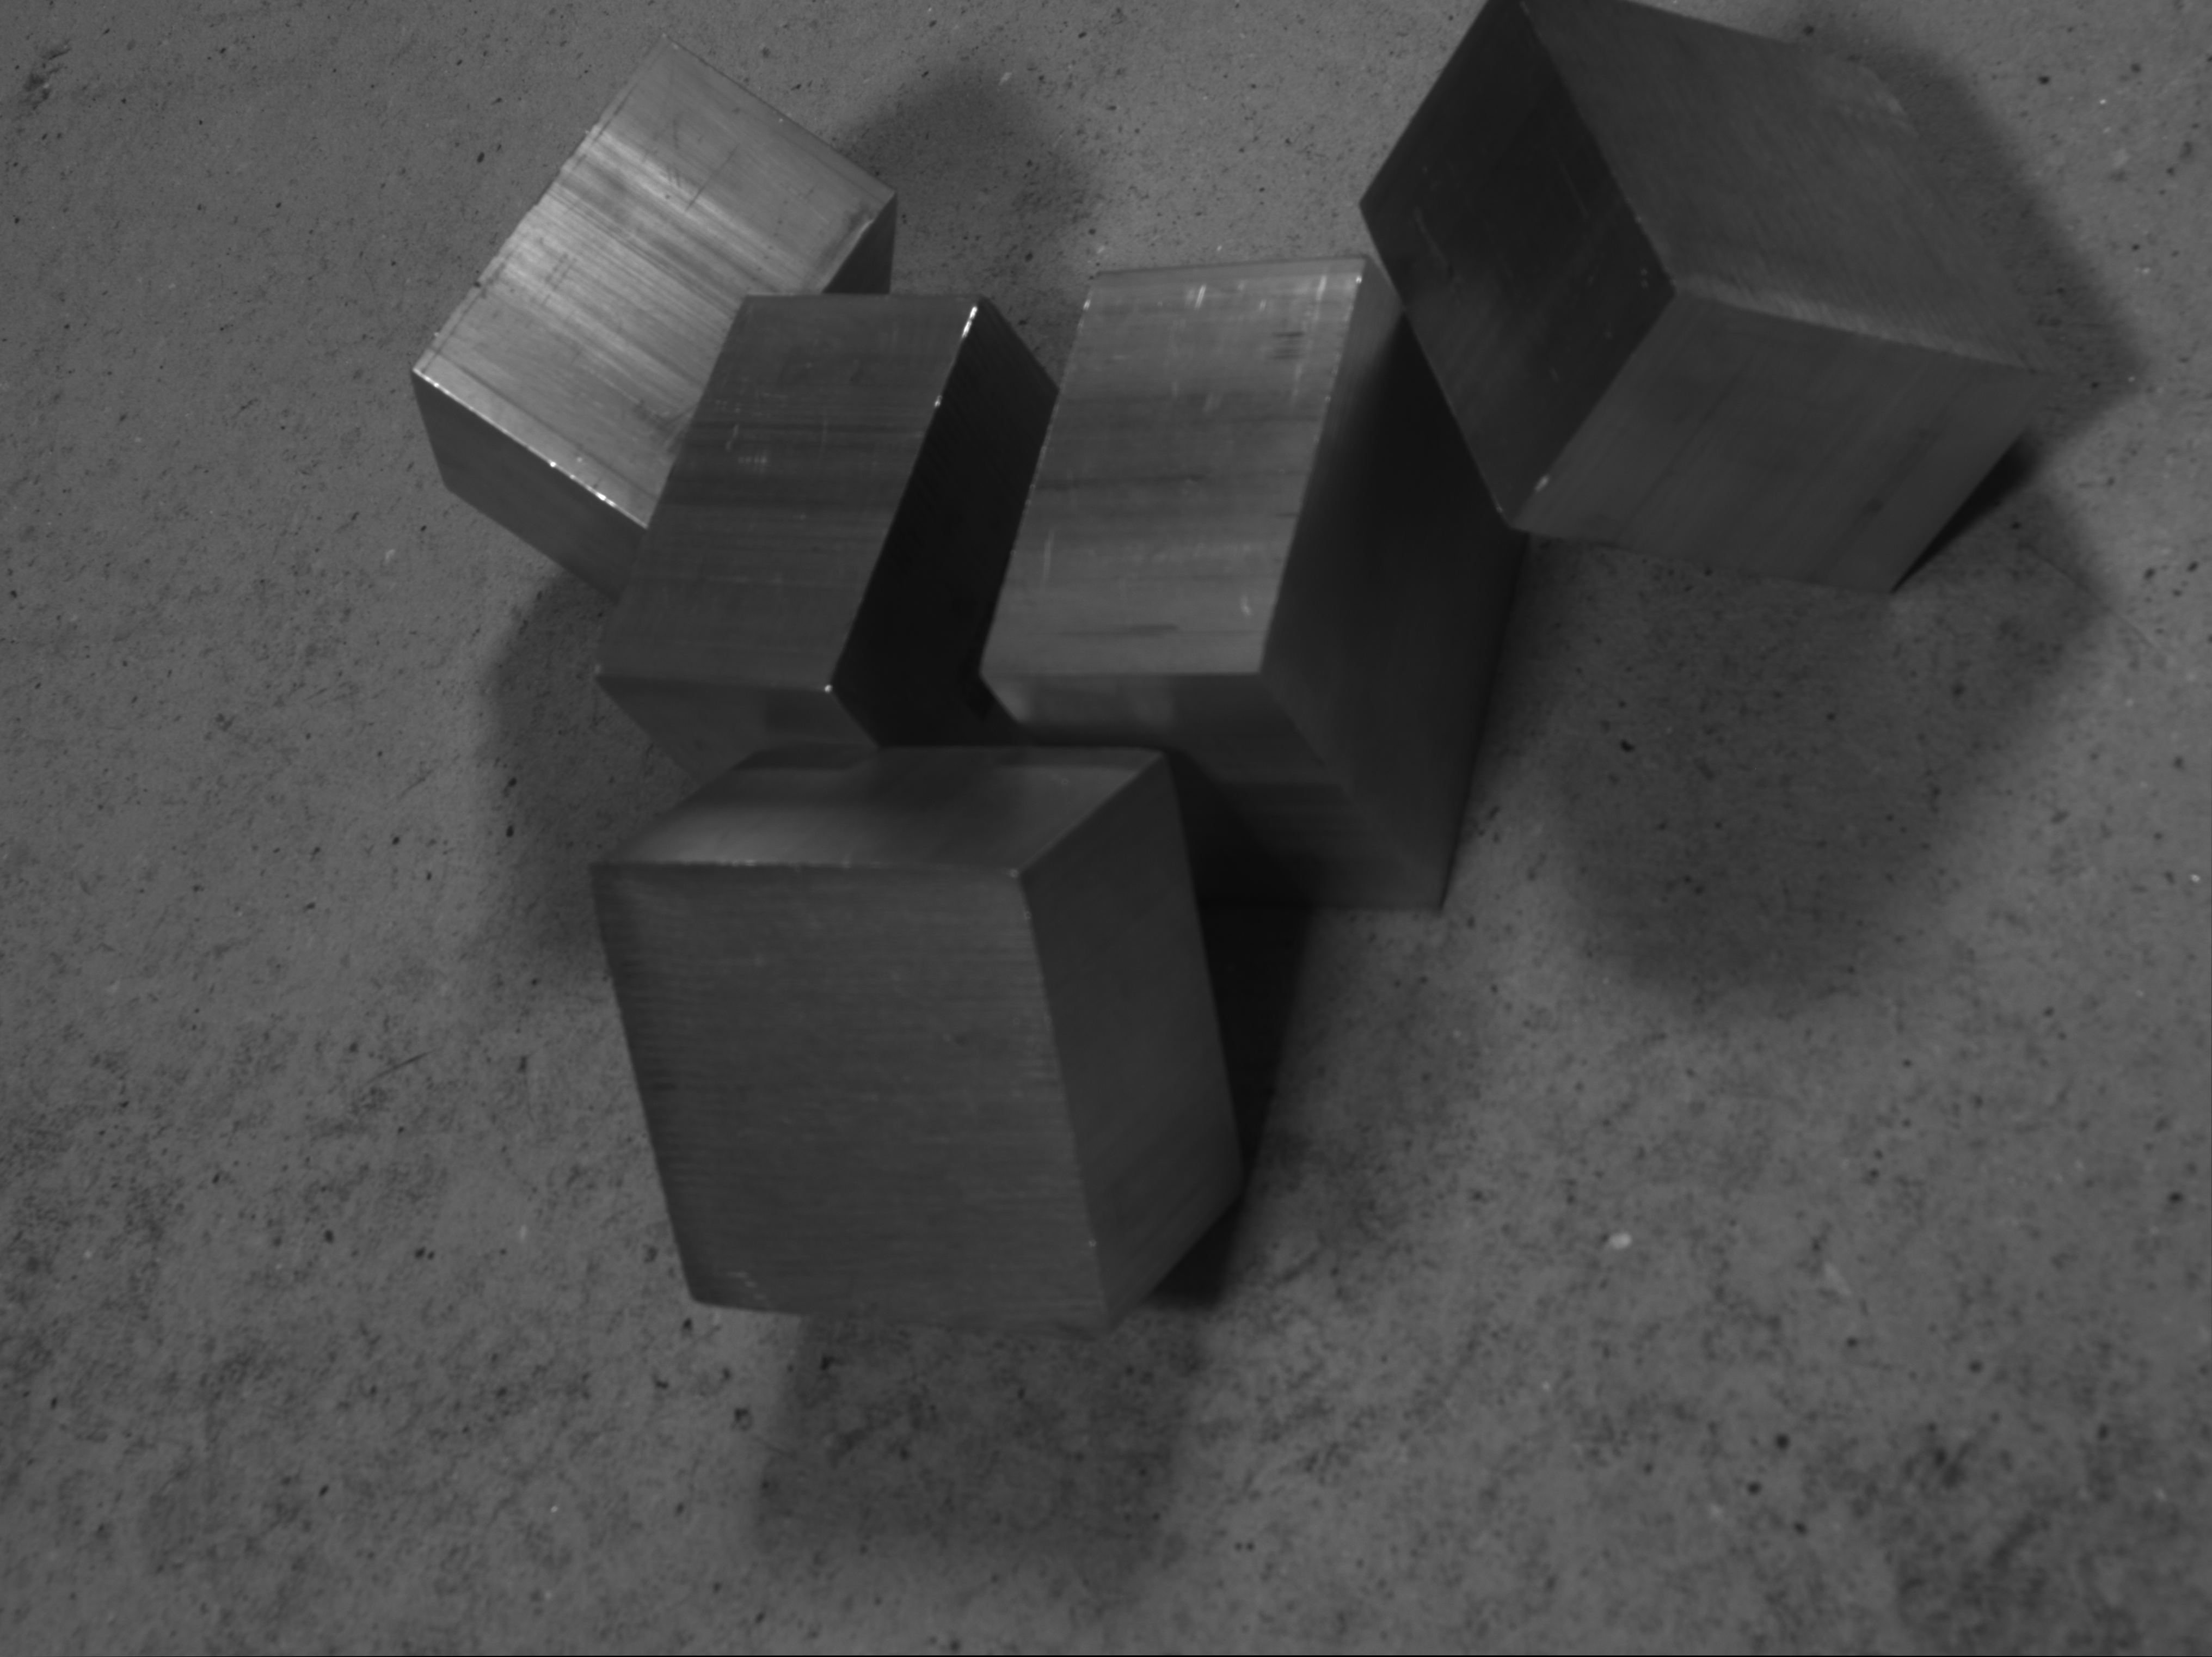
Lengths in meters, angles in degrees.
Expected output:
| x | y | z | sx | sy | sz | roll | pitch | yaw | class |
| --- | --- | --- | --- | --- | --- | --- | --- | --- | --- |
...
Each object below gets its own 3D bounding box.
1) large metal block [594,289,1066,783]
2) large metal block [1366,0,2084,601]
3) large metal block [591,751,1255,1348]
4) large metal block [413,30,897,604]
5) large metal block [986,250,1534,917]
| x | y | z | sx | sy | sz | roll | pitch | yaw | class |
| --- | --- | --- | --- | --- | --- | --- | --- | --- | --- |
| -0.037 | -0.040 | 0.653 | 0.050 | 0.080 | 0.080 | 5 | 64 | 31 | large metal block |
| 0.100 | -0.089 | 0.602 | 0.050 | 0.080 | 0.080 | -56 | 39 | 38 | large metal block |
| -0.029 | 0.034 | 0.595 | 0.080 | 0.080 | 0.050 | 1 | 23 | 29 | large metal block |
| -0.084 | -0.092 | 0.700 | 0.050 | 0.080 | 0.080 | 34 | 78 | 2 | large metal block |
| 0.029 | -0.040 | 0.618 | 0.050 | 0.080 | 0.080 | 1 | 62 | 29 | large metal block |
